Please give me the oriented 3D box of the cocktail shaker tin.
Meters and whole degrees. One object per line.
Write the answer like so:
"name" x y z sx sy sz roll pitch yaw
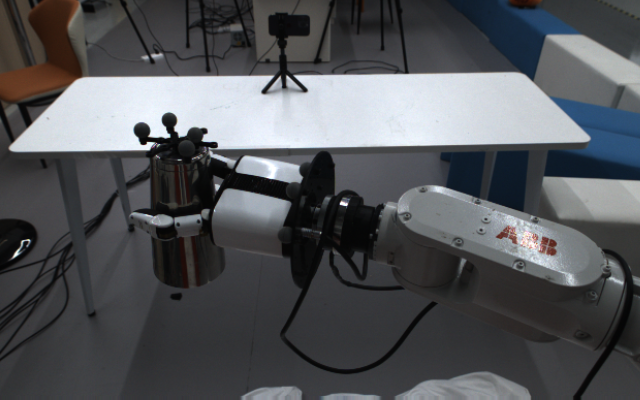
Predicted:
"cocktail shaker tin" -0.165 0.014 0.593 0.093 0.170 0.093 3 32 -2
